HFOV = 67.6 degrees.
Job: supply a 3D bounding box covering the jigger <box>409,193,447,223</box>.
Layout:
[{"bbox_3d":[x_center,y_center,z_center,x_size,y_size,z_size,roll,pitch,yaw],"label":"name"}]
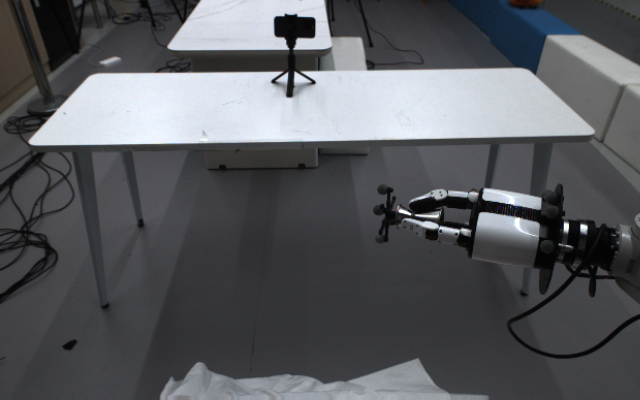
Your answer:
[{"bbox_3d":[0.161,0.026,0.751,0.071,0.043,0.043,7,34,22],"label":"jigger"}]
